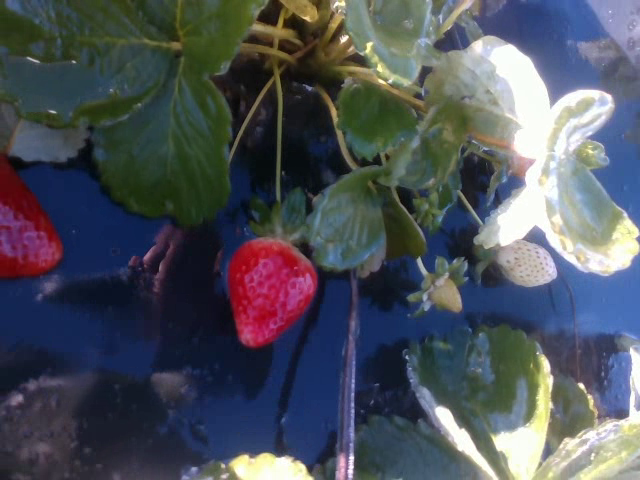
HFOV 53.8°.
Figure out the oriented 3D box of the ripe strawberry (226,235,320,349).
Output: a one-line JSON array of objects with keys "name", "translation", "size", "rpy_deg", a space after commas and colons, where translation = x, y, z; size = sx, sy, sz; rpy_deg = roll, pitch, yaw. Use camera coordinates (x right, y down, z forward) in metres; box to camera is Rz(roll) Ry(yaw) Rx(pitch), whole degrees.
[{"name": "ripe strawberry", "translation": [-0.017, 0.021, 0.221], "size": [0.039, 0.047, 0.040], "rpy_deg": [31, -16, -34]}]
